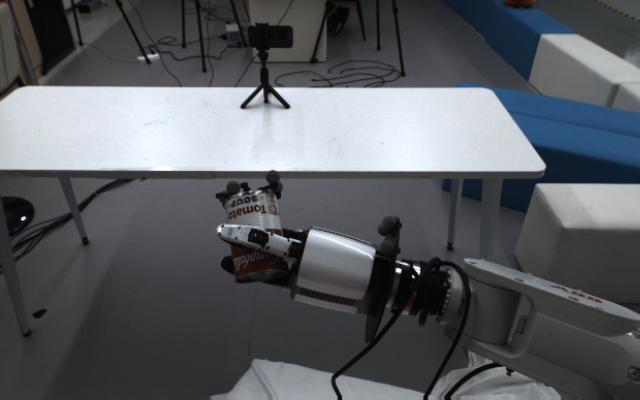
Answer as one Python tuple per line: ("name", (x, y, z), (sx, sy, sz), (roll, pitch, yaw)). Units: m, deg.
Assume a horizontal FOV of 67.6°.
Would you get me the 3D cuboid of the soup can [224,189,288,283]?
("soup can", (-0.077, 0.047, 0.602), (0.067, 0.067, 0.101), (-8, 74, -14))
